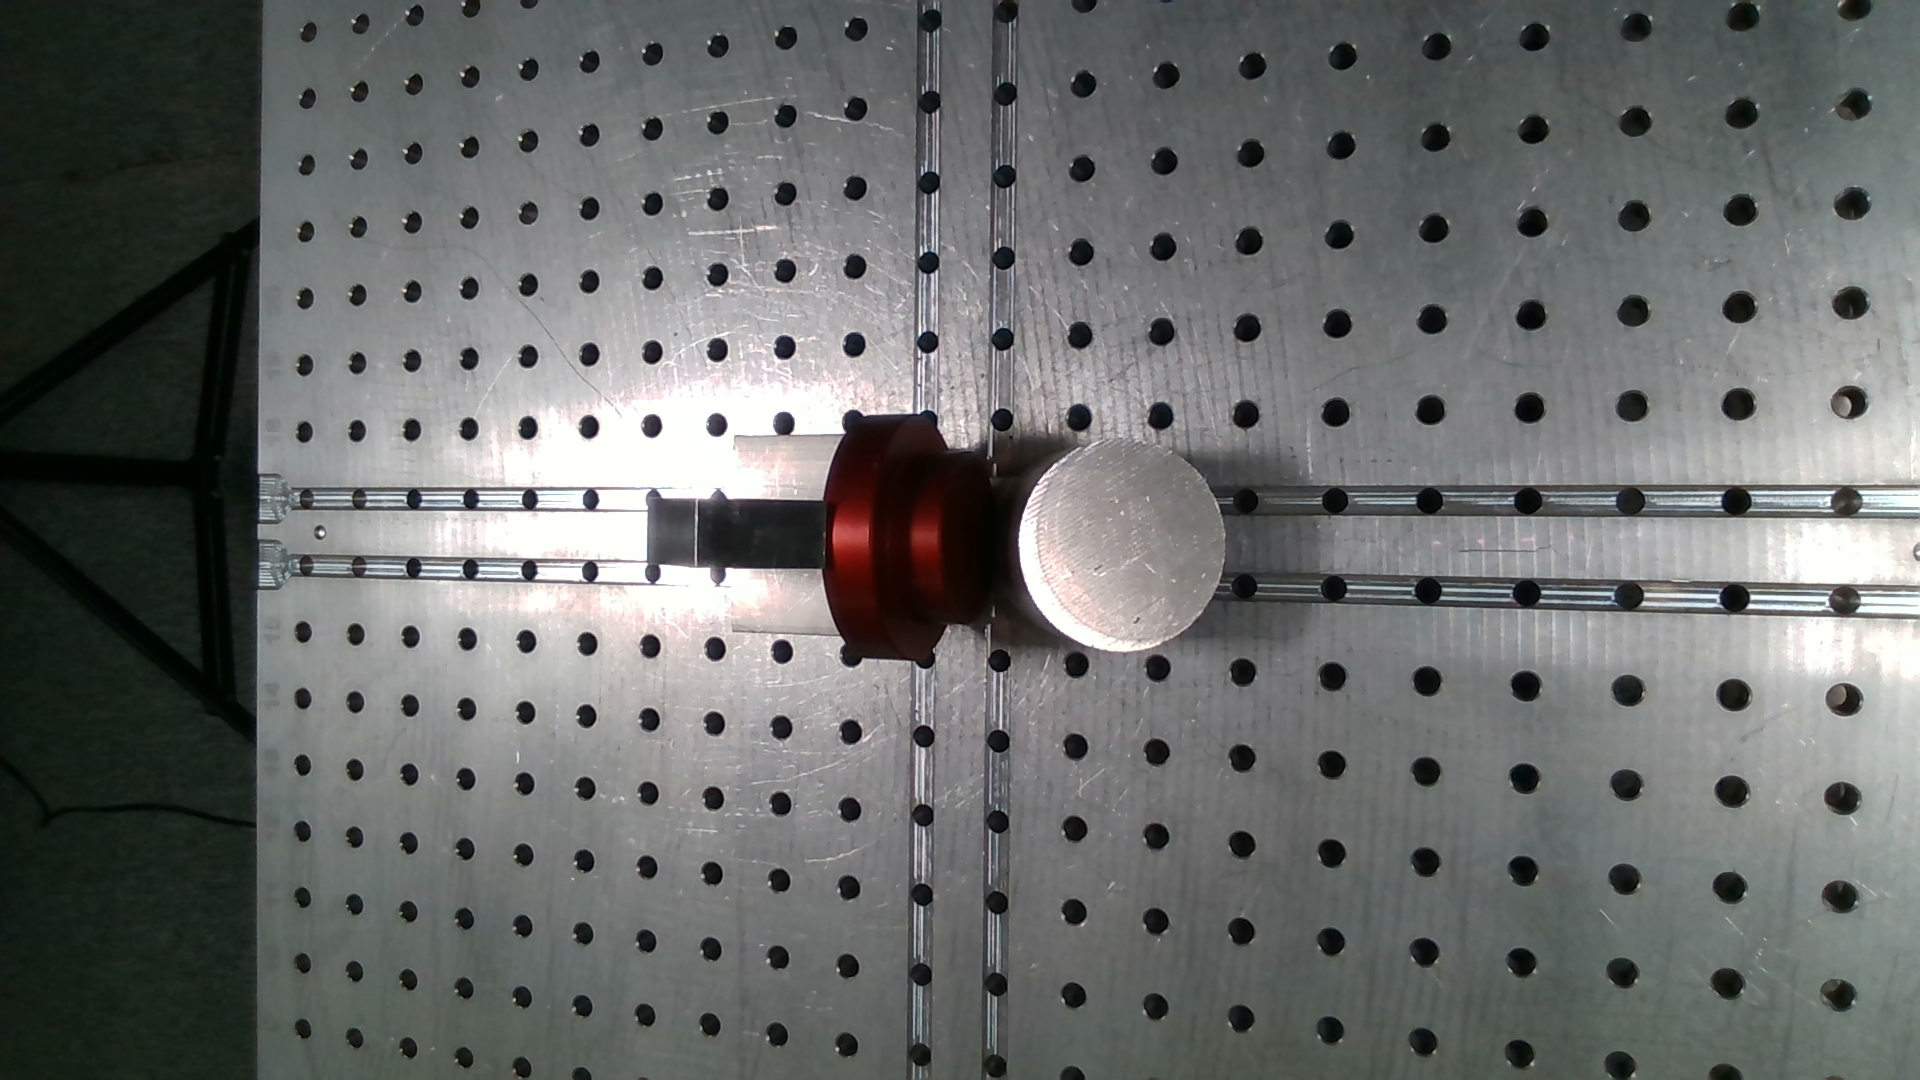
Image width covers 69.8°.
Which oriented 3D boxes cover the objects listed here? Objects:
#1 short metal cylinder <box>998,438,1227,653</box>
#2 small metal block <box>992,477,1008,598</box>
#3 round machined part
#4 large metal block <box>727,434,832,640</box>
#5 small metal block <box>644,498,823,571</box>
[{"bbox_3d":[0.057,0.002,0.536,0.080,0.050,0.080,0,91,-10],"label":"short metal cylinder"},{"bbox_3d":[0.023,-0.001,0.579,0.050,0.025,0.050,1,91,20],"label":"small metal block"},{"bbox_3d":[-0.016,-0.001,0.544,0.042,0.098,0.098,1,91,20],"label":"round machined part"},{"bbox_3d":[-0.055,-0.001,0.578,0.050,0.080,0.080,1,91,20],"label":"large metal block"},{"bbox_3d":[-0.084,-0.002,0.509,0.050,0.050,0.025,3,92,58],"label":"small metal block"}]
